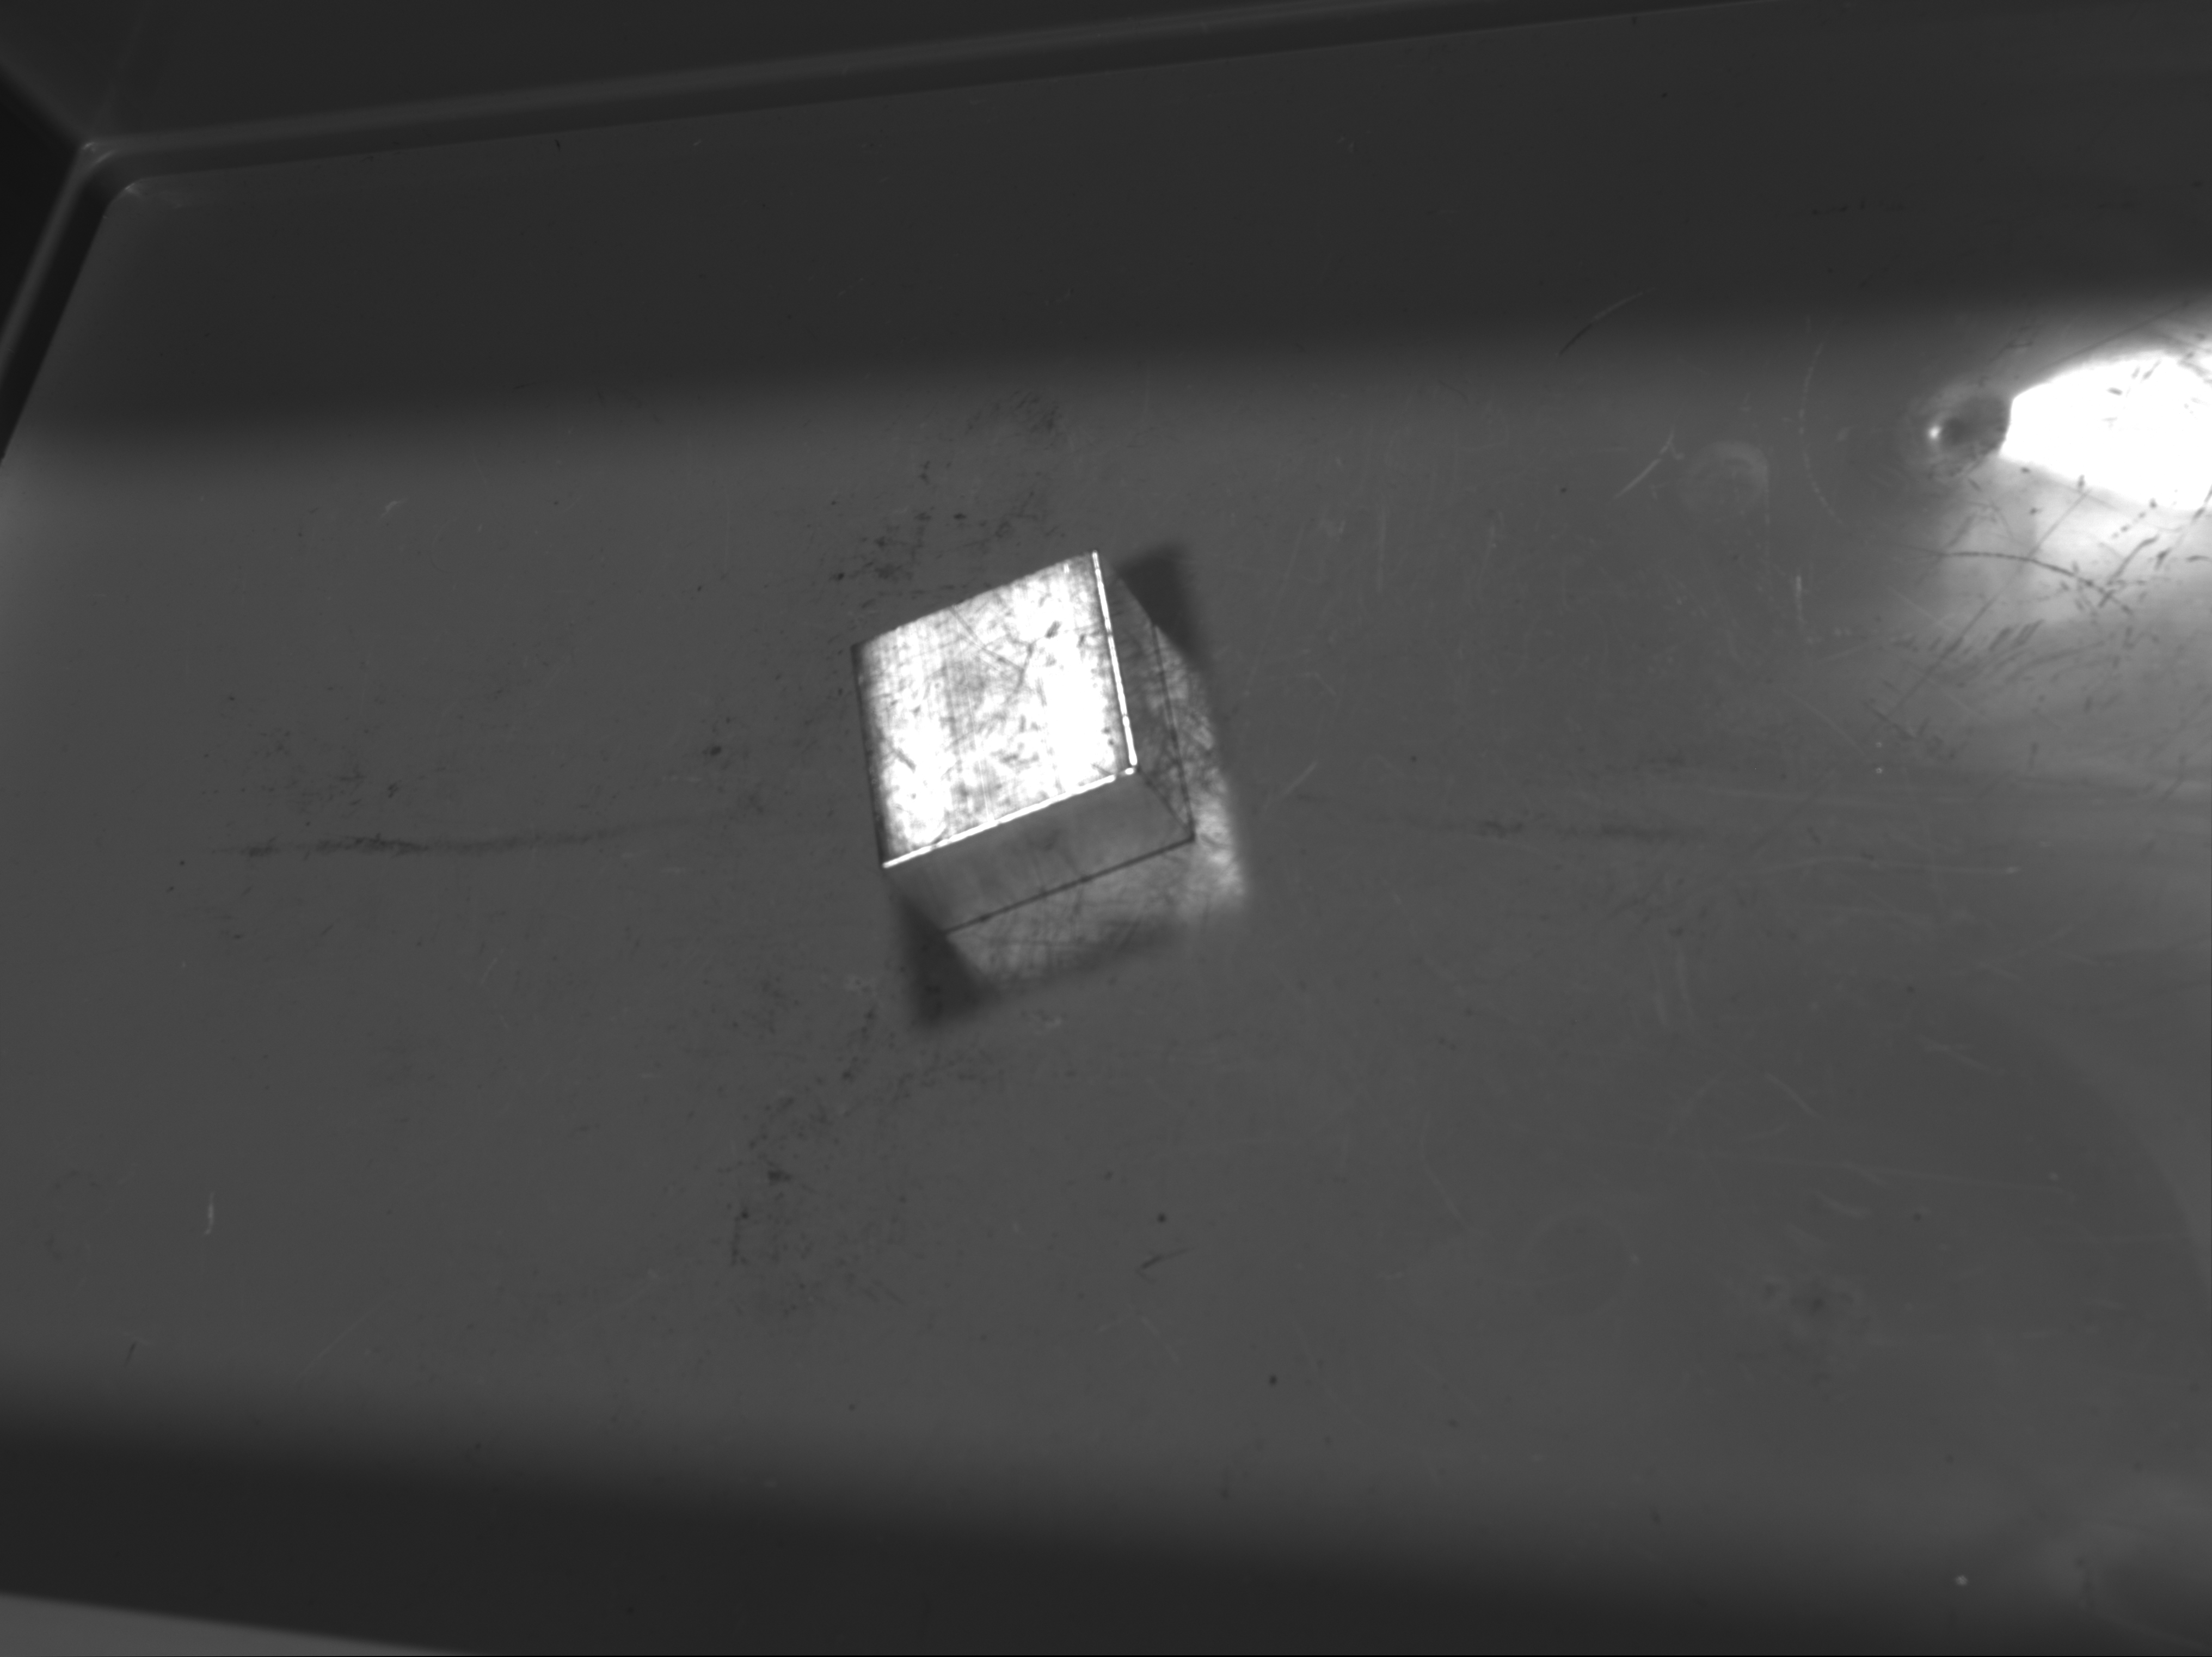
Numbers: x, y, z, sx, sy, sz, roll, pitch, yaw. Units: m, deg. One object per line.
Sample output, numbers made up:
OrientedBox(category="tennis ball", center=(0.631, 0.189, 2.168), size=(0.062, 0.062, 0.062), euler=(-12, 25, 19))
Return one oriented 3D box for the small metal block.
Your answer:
OrientedBox(category="small metal block", center=(-0.013, -0.016, 0.657), size=(0.050, 0.025, 0.050), euler=(-21, 53, 16))
